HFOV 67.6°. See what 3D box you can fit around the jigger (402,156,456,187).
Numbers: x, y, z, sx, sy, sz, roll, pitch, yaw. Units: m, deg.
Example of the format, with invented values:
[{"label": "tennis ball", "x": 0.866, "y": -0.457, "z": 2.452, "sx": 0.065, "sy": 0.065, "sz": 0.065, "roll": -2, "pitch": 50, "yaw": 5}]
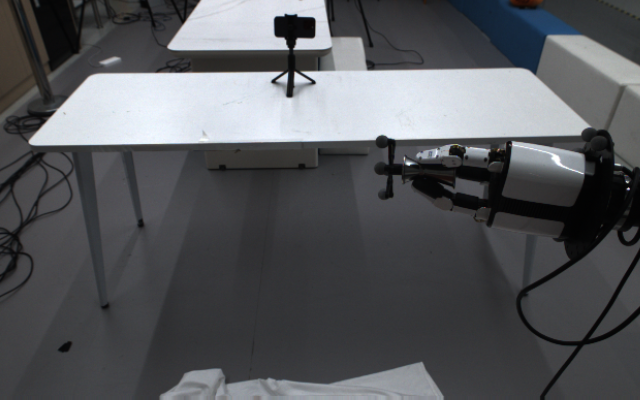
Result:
[{"label": "jigger", "x": 0.152, "y": -0.043, "z": 0.641, "sx": 0.071, "sy": 0.043, "sz": 0.043, "roll": 3, "pitch": 34, "yaw": 15}]
